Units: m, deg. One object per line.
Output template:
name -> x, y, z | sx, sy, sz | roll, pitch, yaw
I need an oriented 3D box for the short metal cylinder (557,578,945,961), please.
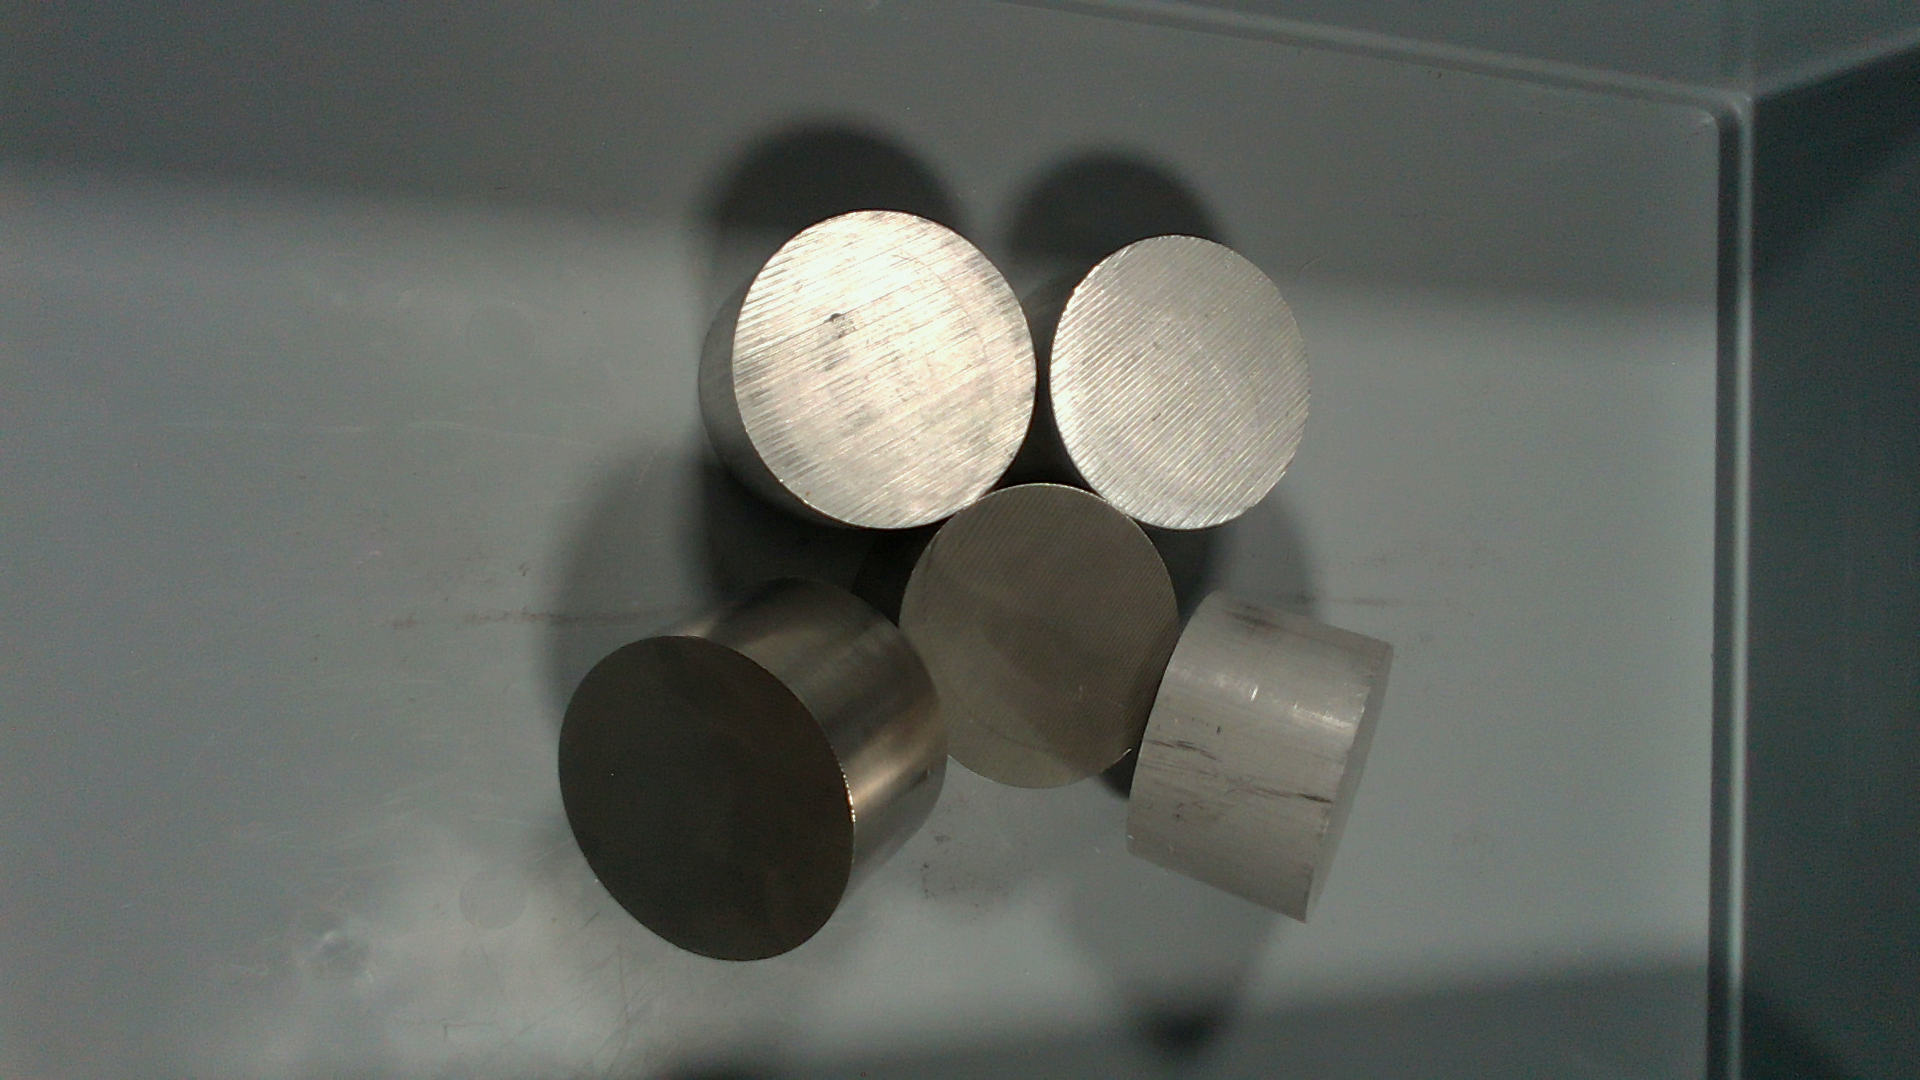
short metal cylinder -> -0.051, 0.054, 0.339 | 0.050, 0.080, 0.080 | -31, 104, -62

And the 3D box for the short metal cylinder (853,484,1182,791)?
short metal cylinder -> 0.014, 0.025, 0.382 | 0.080, 0.050, 0.080 | 0, 90, -20

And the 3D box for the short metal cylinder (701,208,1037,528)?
short metal cylinder -> -0.026, -0.043, 0.368 | 0.080, 0.050, 0.080 | 0, 90, -20

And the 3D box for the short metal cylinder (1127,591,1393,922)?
short metal cylinder -> 0.085, 0.060, 0.387 | 0.050, 0.080, 0.080 | 17, 83, 21

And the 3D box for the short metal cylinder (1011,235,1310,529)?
short metal cylinder -> 0.053, -0.043, 0.398 | 0.080, 0.050, 0.080 | 0, 90, -20
